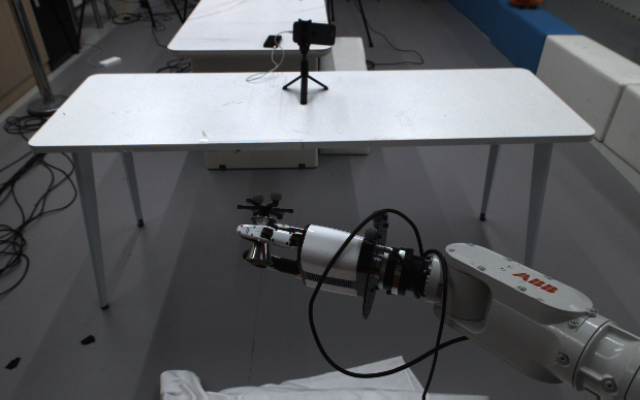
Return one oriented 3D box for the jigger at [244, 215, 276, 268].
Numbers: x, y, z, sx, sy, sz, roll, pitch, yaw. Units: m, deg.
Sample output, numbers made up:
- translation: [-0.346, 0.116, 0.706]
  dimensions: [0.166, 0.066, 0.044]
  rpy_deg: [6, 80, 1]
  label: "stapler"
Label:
- translation: [-0.092, 0.062, 0.745]
  dimensions: [0.043, 0.043, 0.071]
  rpy_deg: [4, 71, 3]
  label: "jigger"
